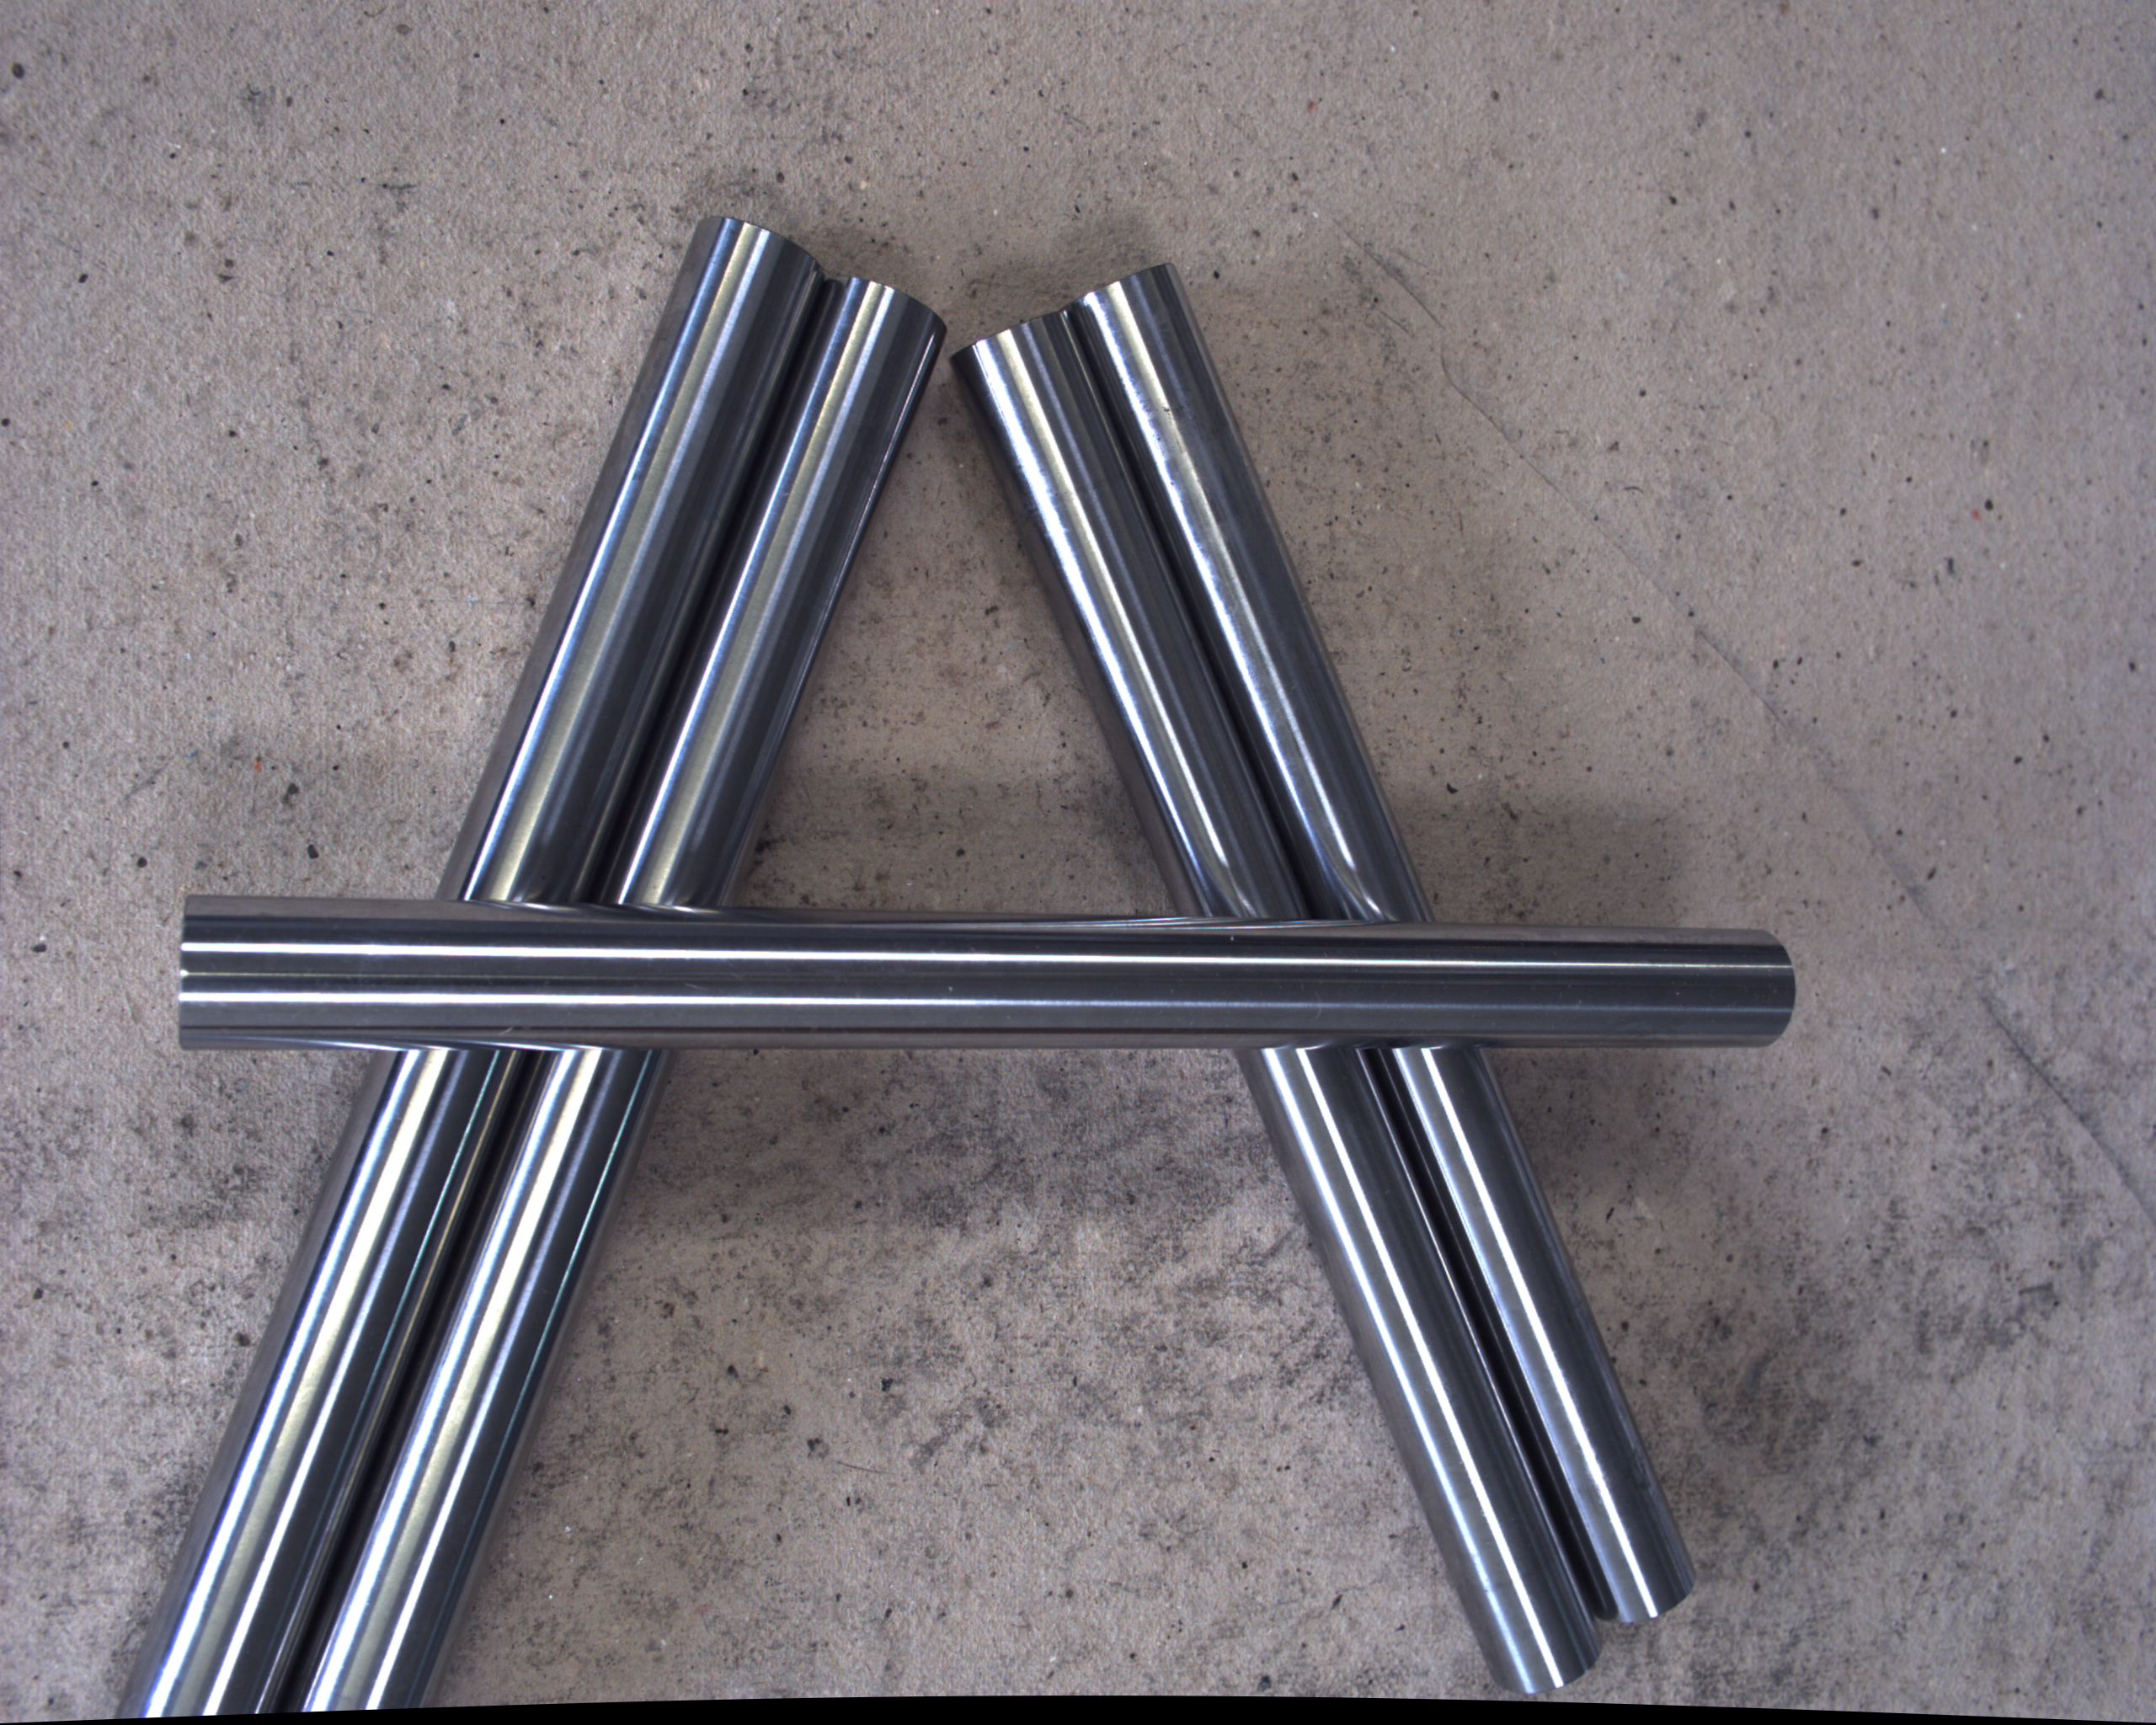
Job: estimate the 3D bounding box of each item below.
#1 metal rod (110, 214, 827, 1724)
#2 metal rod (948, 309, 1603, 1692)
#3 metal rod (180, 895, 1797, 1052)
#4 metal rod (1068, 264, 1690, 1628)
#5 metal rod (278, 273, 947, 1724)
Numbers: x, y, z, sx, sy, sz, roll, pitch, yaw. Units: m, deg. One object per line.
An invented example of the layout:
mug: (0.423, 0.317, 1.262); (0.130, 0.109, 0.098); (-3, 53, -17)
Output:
metal rod: (-0.108, 0.026, 0.370); (0.025, 0.025, 0.299); (22, 83, -19)
metal rod: (0.043, 0.034, 0.427); (0.025, 0.025, 0.299); (-25, 99, -18)
metal rod: (0.000, 0.022, 0.383); (0.302, 0.025, 0.025); (2, 90, -20)
metal rod: (0.064, 0.023, 0.434); (0.025, 0.025, 0.299); (-25, 99, -18)
metal rod: (-0.086, 0.035, 0.378); (0.025, 0.025, 0.299); (22, 83, -19)
